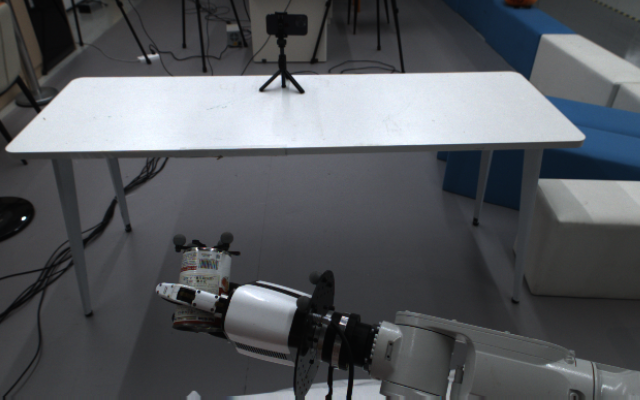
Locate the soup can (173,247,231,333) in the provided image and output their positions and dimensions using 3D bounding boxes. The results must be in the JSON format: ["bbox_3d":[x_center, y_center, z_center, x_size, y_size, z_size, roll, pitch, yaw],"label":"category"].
[{"bbox_3d":[-0.154,0.122,0.643,0.067,0.067,0.101,1,68,-1],"label":"soup can"}]
